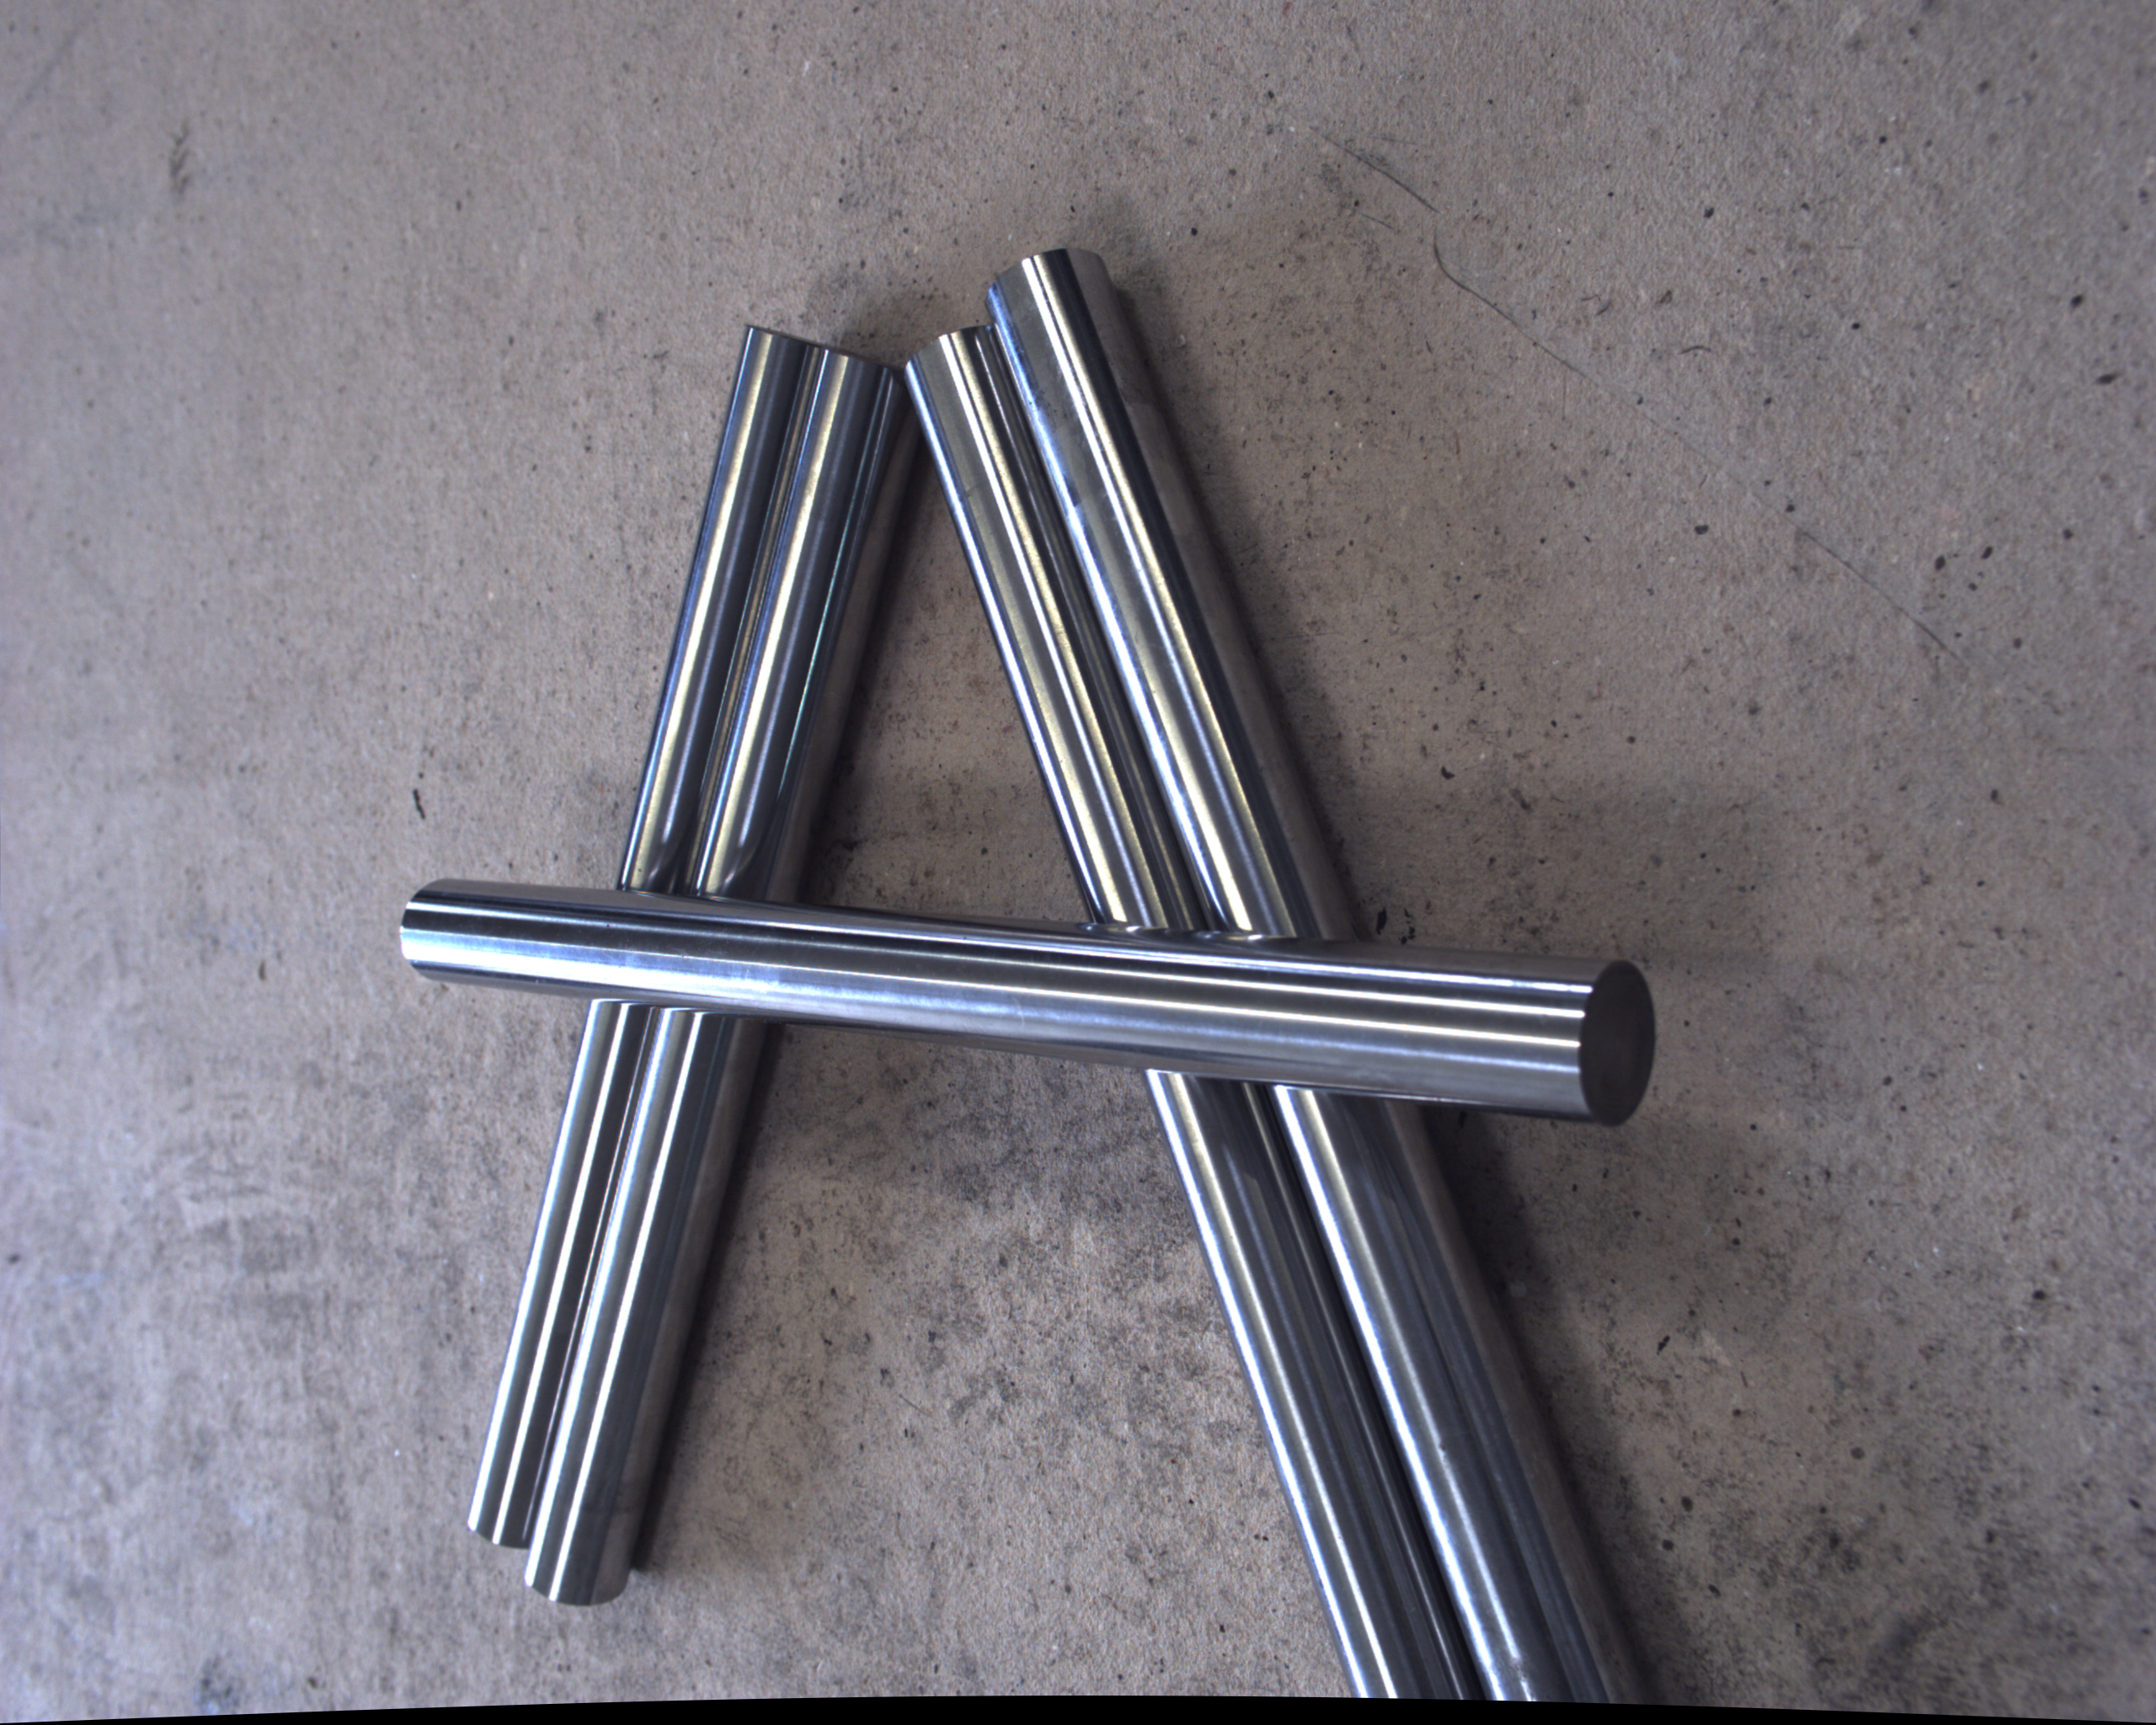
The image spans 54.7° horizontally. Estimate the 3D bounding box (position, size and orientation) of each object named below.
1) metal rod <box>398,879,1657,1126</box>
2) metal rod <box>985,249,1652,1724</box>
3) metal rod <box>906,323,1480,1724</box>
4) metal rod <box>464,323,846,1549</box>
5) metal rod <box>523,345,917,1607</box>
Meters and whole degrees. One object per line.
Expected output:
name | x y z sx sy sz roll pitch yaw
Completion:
metal rod | -0.036 0.021 0.403 0.300 0.025 0.025 3 92 39
metal rod | 0.040 0.023 0.374 0.025 0.025 0.299 -30 71 36
metal rod | 0.023 0.034 0.388 0.025 0.025 0.299 -30 71 36
metal rod | -0.101 0.025 0.489 0.025 0.025 0.298 26 106 37
metal rod | -0.083 0.034 0.474 0.025 0.025 0.298 26 106 37
